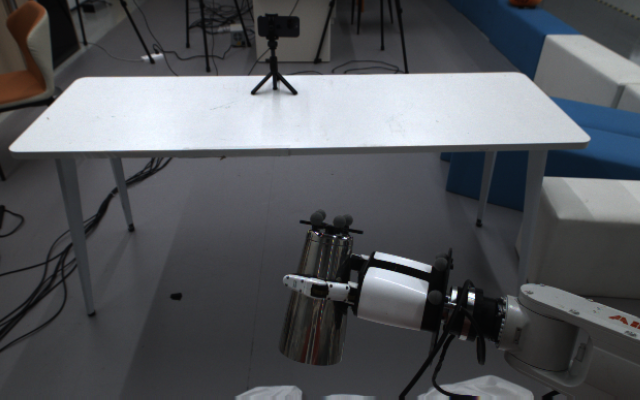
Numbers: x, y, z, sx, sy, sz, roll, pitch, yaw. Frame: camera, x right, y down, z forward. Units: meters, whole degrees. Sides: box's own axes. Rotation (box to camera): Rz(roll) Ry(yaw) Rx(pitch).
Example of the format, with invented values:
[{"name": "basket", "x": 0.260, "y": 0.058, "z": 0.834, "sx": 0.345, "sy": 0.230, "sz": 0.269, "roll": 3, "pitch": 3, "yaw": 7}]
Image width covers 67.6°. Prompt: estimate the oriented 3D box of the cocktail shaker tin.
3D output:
[{"name": "cocktail shaker tin", "x": 0.002, "y": 0.129, "z": 0.675, "sx": 0.093, "sy": 0.170, "sz": 0.093, "roll": 9, "pitch": 3, "yaw": -1}]
